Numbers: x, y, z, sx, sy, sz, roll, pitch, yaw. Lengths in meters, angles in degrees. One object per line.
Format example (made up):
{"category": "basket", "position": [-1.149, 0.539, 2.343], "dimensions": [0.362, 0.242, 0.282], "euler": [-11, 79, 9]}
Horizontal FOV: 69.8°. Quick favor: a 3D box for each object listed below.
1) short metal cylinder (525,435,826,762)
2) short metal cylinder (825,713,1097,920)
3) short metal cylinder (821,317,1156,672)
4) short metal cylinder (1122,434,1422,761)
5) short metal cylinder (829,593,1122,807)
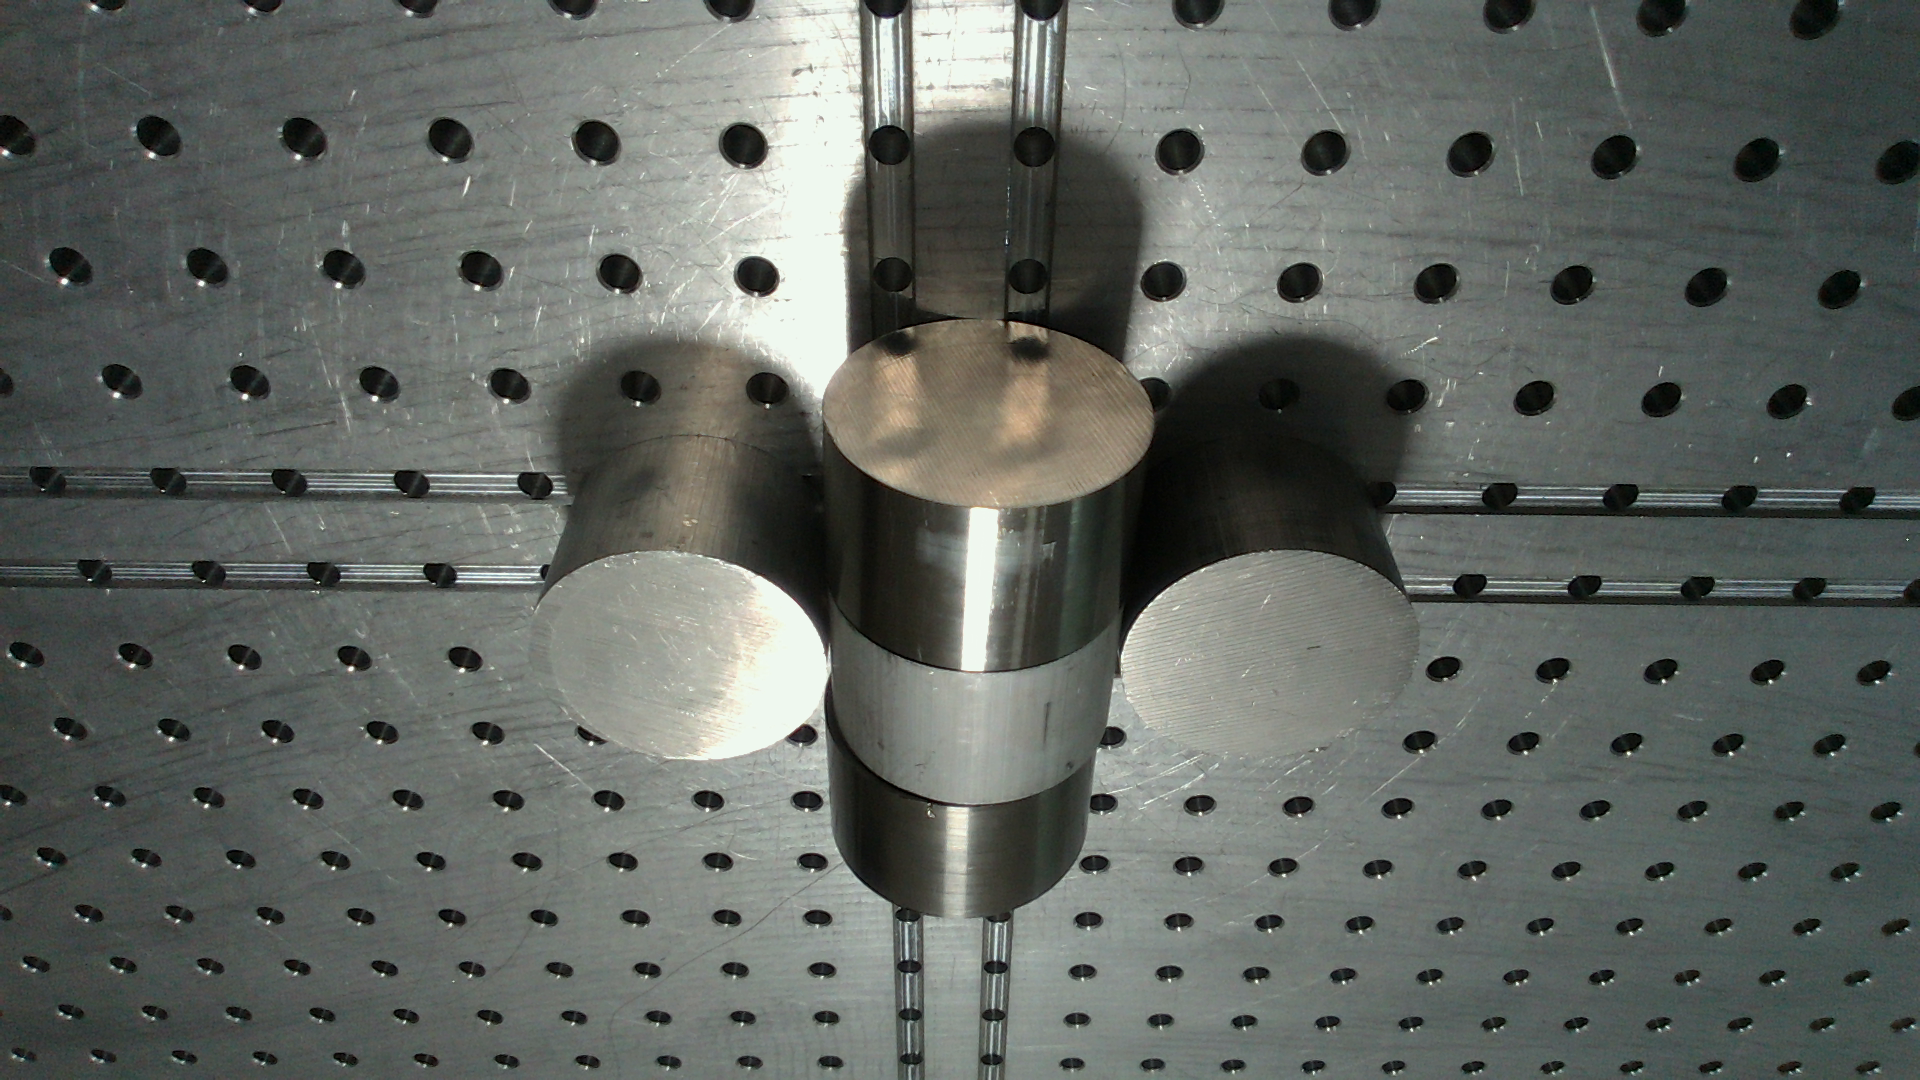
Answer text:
{"category": "short metal cylinder", "position": [-0.077, 0.017, 0.391], "dimensions": [0.080, 0.050, 0.080], "euler": [0, 130, 0]}
{"category": "short metal cylinder", "position": [0.001, 0.065, 0.412], "dimensions": [0.080, 0.080, 0.050], "euler": [1, 130, -1]}
{"category": "short metal cylinder", "position": [0.006, -0.013, 0.345], "dimensions": [0.080, 0.080, 0.050], "euler": [2, 130, -2]}
{"category": "short metal cylinder", "position": [0.084, 0.017, 0.391], "dimensions": [0.080, 0.050, 0.080], "euler": [0, 130, 0]}
{"category": "short metal cylinder", "position": [0.004, 0.026, 0.379], "dimensions": [0.080, 0.080, 0.050], "euler": [1, 130, -1]}
